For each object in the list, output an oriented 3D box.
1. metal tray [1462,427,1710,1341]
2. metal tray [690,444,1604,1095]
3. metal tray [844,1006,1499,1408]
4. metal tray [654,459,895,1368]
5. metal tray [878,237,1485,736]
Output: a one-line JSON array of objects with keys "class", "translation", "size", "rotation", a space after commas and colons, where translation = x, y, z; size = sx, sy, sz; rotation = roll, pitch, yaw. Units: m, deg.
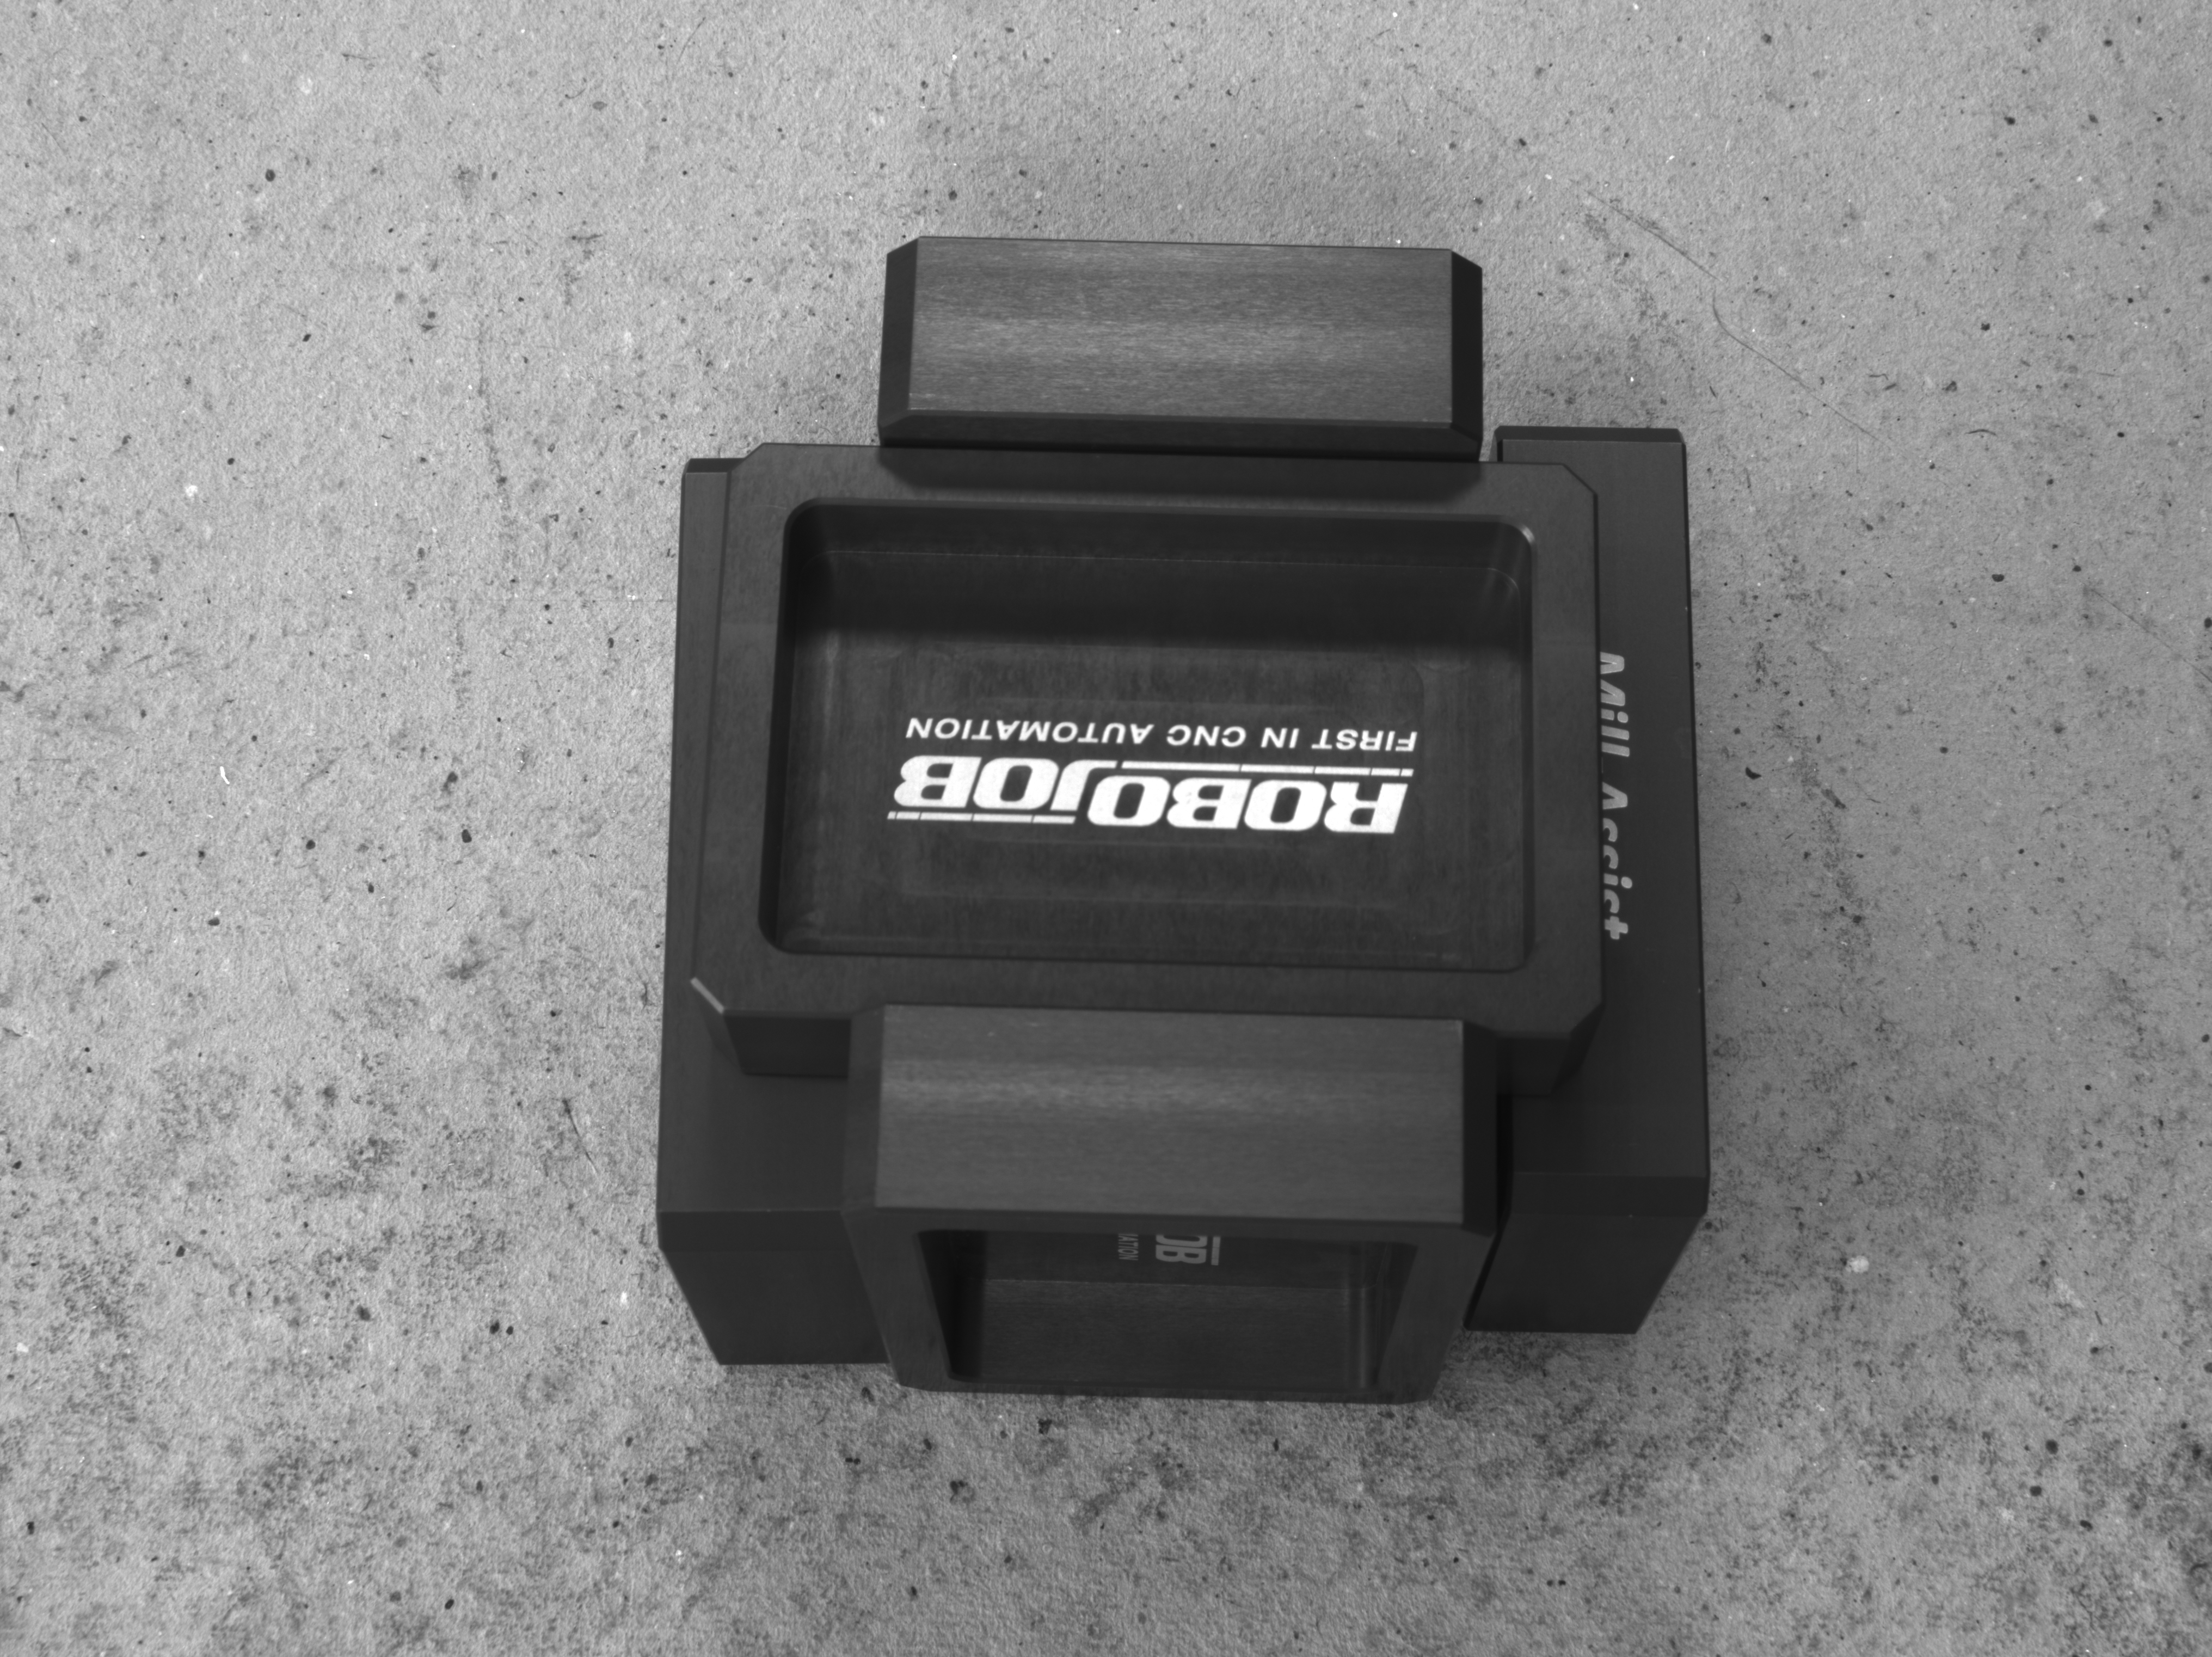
[{"class": "metal tray", "translation": [0.077, 0.011, 0.607], "size": [0.030, 0.090, 0.130], "rotation": [1, 69, 2]}, {"class": "metal tray", "translation": [0.007, -0.009, 0.550], "size": [0.130, 0.030, 0.090], "rotation": [2, 70, 1]}, {"class": "metal tray", "translation": [0.010, 0.061, 0.567], "size": [0.090, 0.130, 0.030], "rotation": [1, 70, 1]}, {"class": "metal tray", "translation": [-0.052, 0.016, 0.605], "size": [0.030, 0.090, 0.130], "rotation": [0, 70, 0]}, {"class": "metal tray", "translation": [0.012, -0.051, 0.608], "size": [0.090, 0.130, 0.030], "rotation": [2, 69, 1]}]
